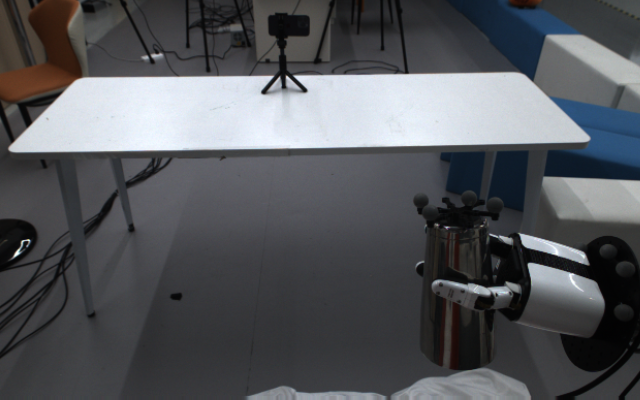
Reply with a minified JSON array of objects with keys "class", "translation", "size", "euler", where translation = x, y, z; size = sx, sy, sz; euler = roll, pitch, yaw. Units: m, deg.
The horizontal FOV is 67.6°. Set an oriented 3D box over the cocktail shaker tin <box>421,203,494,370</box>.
[{"class":"cocktail shaker tin","translation":[0.163,0.099,0.569],"size":[0.093,0.170,0.093],"euler":[-6,19,2]}]
